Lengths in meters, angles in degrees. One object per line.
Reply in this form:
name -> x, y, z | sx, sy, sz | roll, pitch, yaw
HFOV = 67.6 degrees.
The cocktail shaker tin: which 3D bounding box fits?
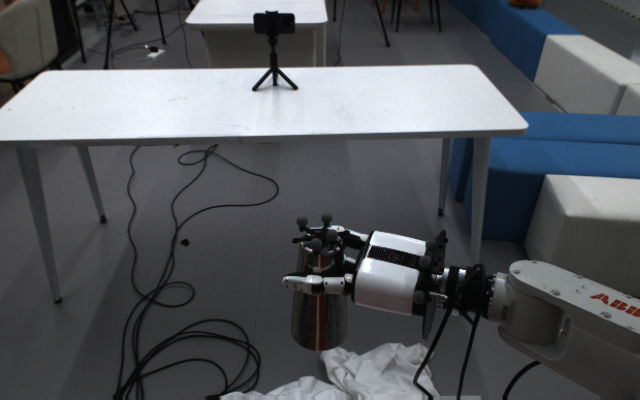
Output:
cocktail shaker tin -> 0.003, 0.134, 0.753 | 0.093, 0.170, 0.093 | 1, 27, -1
